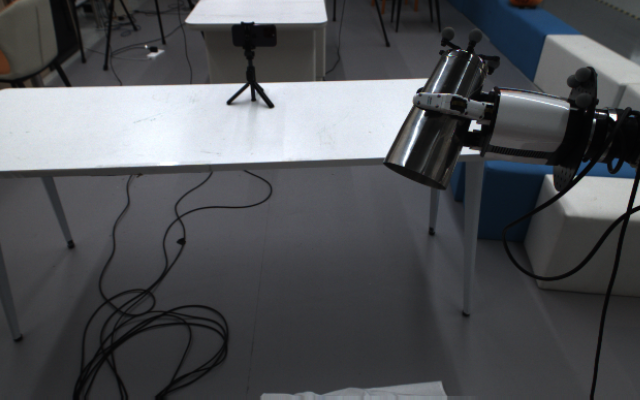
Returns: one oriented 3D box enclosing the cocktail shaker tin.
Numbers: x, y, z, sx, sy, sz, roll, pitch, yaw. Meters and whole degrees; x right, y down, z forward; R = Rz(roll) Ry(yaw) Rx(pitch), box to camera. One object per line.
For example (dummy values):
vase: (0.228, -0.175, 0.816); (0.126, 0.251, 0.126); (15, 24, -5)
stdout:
cocktail shaker tin: (0.163, -0.113, 0.652); (0.093, 0.170, 0.093); (23, 0, 0)
